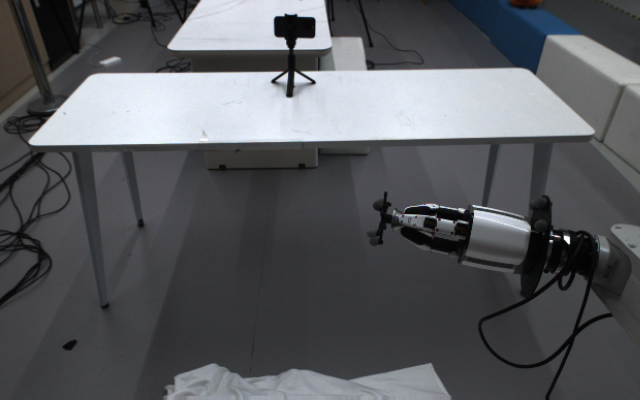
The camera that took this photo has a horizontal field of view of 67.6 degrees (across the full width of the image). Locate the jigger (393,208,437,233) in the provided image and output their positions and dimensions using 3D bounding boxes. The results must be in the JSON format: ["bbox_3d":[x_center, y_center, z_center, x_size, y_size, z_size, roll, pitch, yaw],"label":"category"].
[{"bbox_3d":[0.158,0.032,0.781,0.071,0.043,0.043,8,35,15],"label":"jigger"}]
